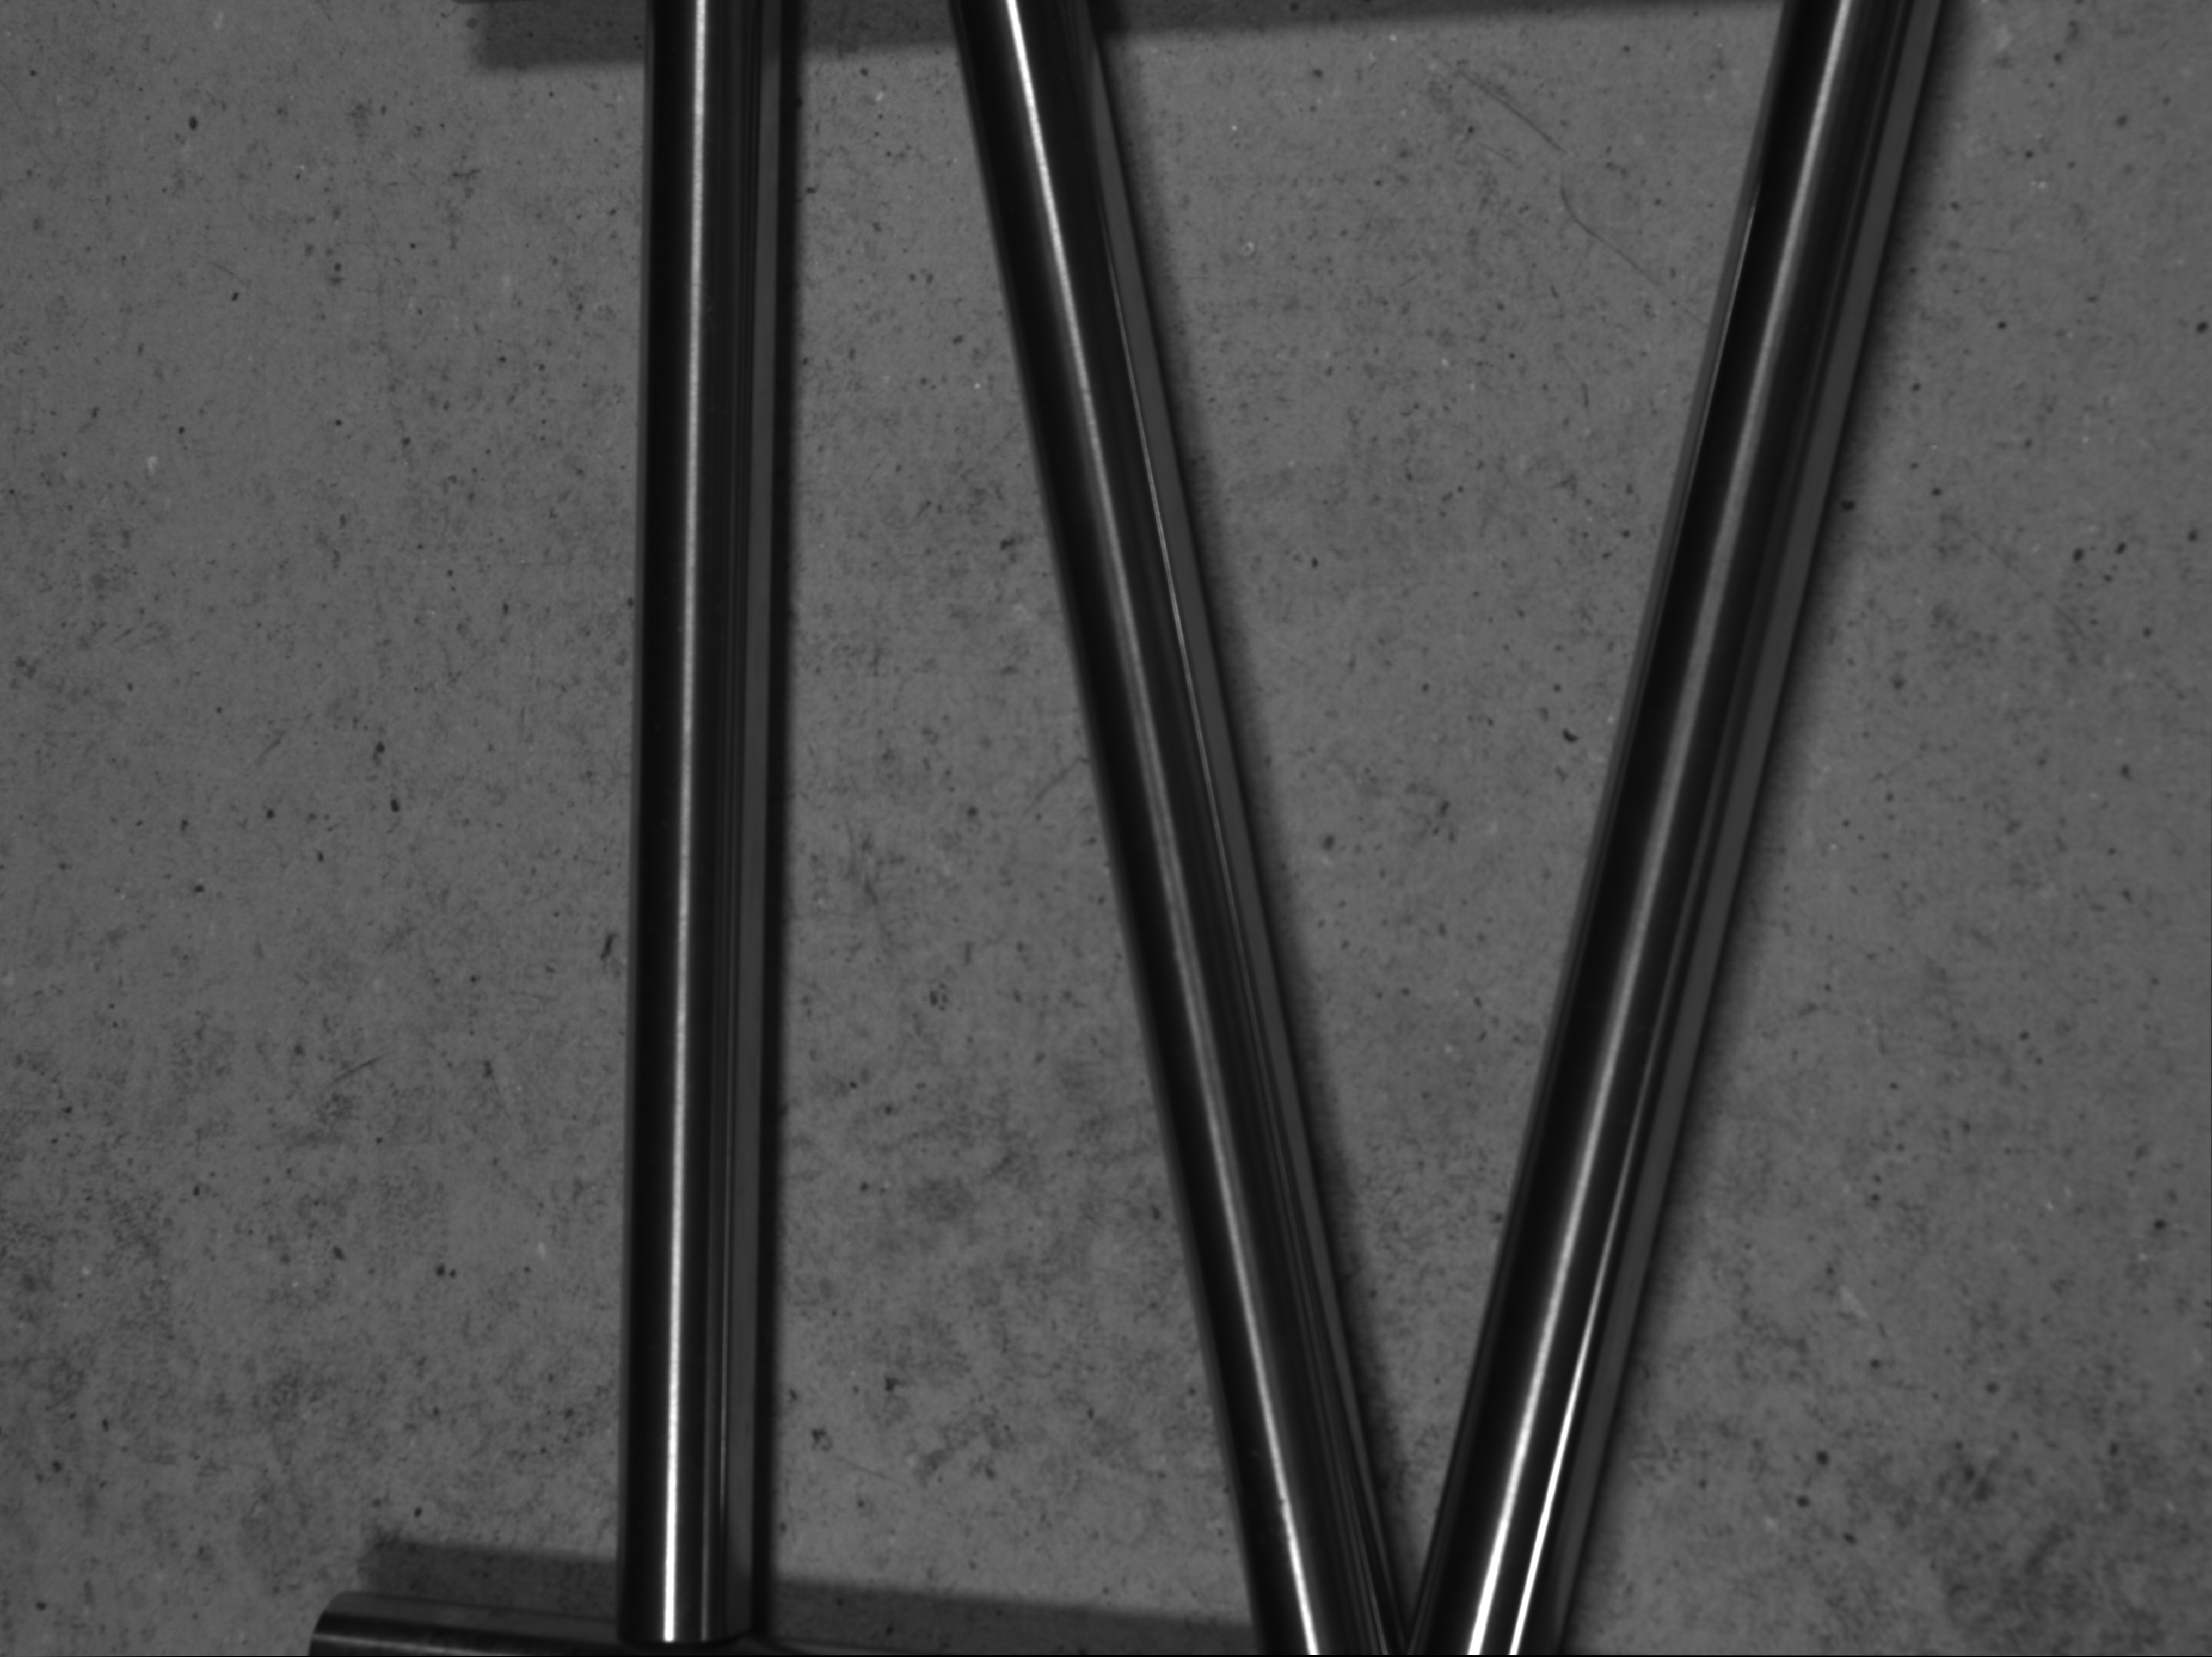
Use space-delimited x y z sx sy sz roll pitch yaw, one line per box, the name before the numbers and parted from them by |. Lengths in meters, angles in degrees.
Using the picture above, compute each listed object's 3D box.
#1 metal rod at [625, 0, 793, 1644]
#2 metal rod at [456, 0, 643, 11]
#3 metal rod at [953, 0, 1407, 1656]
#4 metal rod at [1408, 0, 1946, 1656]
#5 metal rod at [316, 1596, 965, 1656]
metal rod | -0.073 -0.004 0.669 0.025 0.025 0.300 1 90 20
metal rod | 0.021 -0.163 0.637 0.299 0.025 0.025 1 90 20
metal rod | 0.013 -0.001 0.639 0.025 0.025 0.300 -12 86 19
metal rod | 0.095 -0.001 0.610 0.025 0.025 0.300 14 94 19
metal rod | -0.002 0.161 0.644 0.299 0.025 0.025 1 90 20
